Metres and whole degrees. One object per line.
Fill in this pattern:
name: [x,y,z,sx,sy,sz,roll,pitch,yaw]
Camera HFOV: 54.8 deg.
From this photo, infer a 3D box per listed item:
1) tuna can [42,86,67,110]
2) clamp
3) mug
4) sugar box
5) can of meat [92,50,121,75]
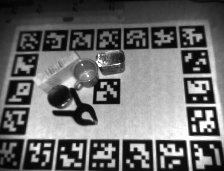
tuna can: [-0.210,0.046,0.796,0.085,0.034,0.085,-1,73,5]
clamp: [-0.132,0.097,0.777,0.164,0.037,0.122,33,73,10]
mug: [-0.117,-0.034,0.787,0.093,0.082,0.117,23,77,12]
sugar box: [-0.209,-0.044,0.801,0.177,0.093,0.045,-38,70,-9]
can of meat: [-0.017,-0.083,0.803,0.102,0.084,0.057,-10,69,1]
